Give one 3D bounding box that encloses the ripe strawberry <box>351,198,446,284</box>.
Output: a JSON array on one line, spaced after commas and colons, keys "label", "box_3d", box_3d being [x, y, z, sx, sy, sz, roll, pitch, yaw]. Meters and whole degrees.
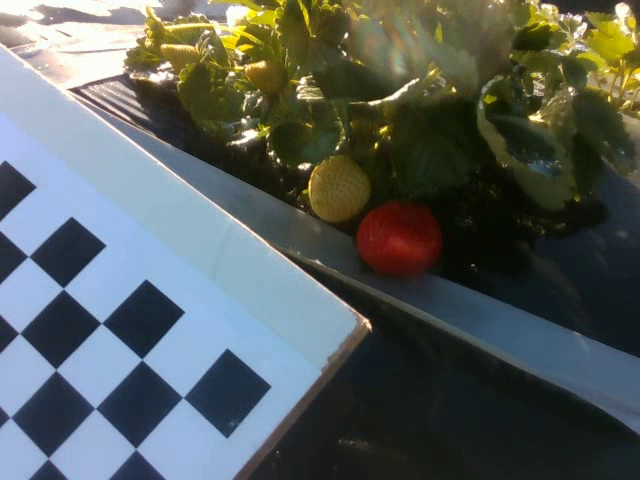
[{"label": "ripe strawberry", "box_3d": [0.039, 0.000, 0.289, 0.045, 0.049, 0.064, -29, 6, 1]}]
